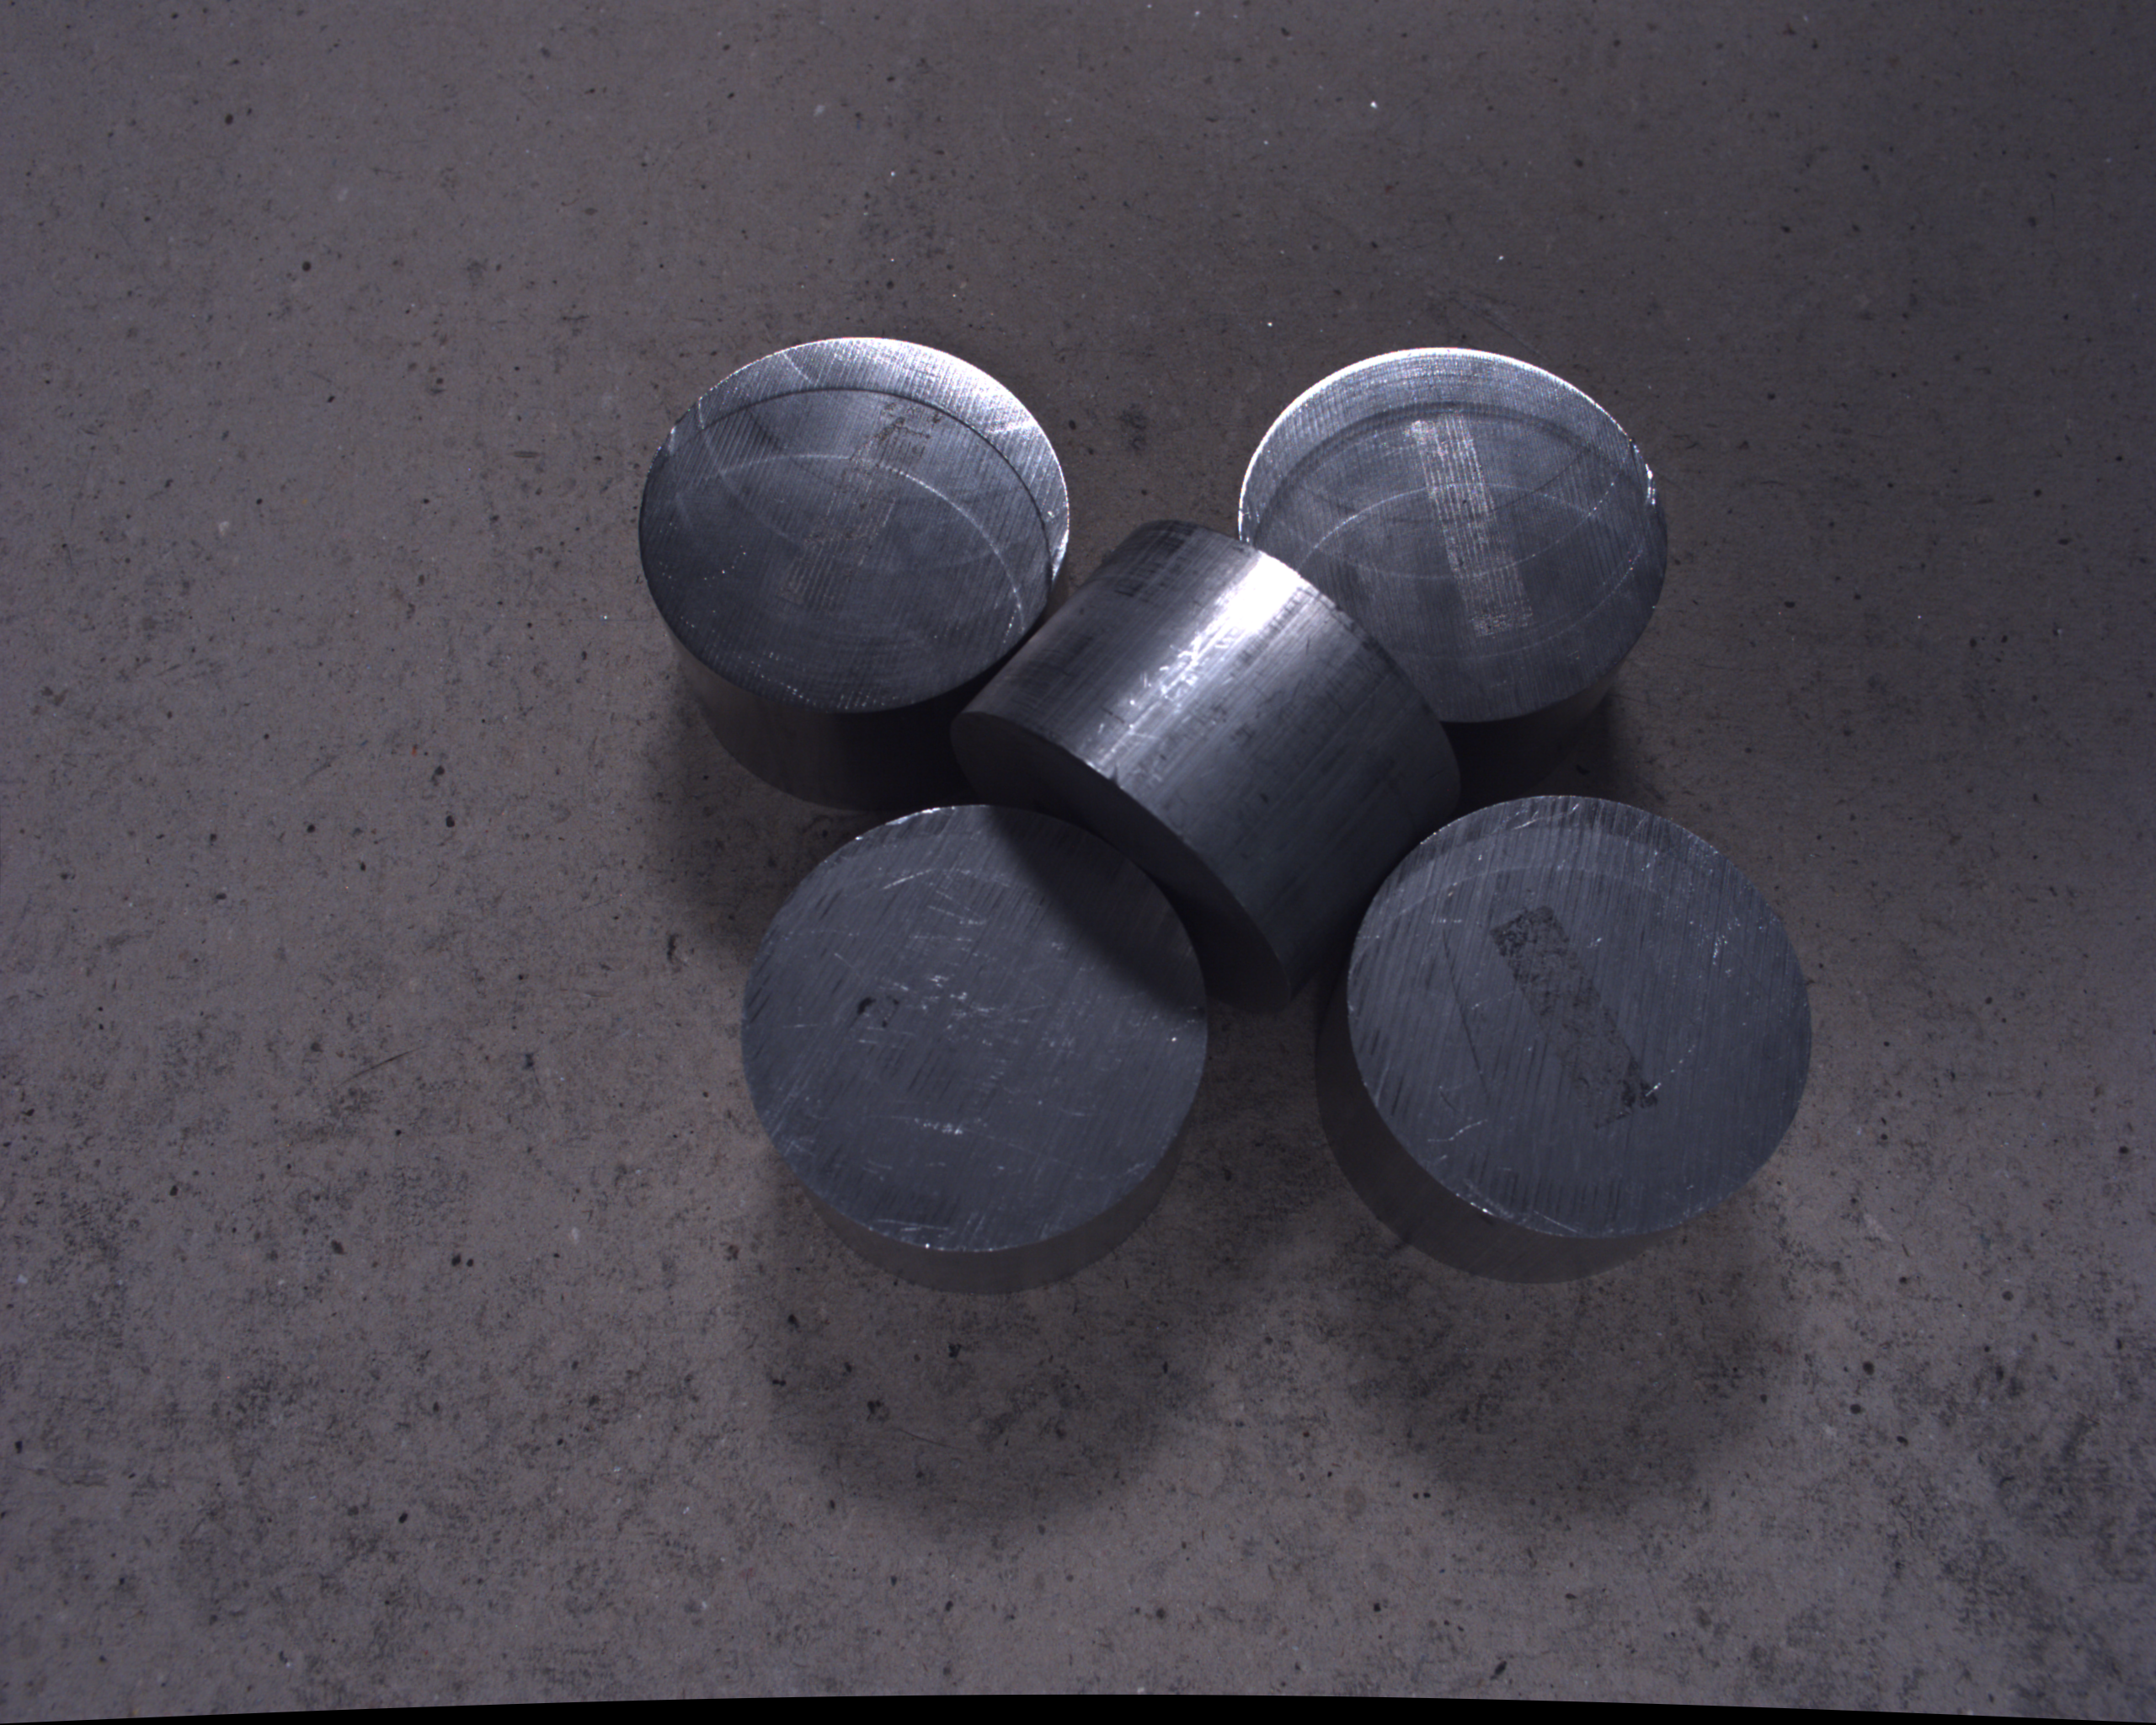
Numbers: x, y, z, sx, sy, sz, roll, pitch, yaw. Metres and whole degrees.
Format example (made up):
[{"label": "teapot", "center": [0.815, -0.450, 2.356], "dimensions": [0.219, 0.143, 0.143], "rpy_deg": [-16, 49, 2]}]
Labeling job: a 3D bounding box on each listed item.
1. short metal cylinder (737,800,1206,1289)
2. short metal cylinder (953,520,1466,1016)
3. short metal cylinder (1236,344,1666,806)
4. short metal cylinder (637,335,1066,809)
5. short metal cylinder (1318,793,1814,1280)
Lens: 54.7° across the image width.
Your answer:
[{"label": "short metal cylinder", "center": [-0.018, 0.035, 0.382], "dimensions": [0.081, 0.050, 0.080], "rpy_deg": [0, 70, 0]}, {"label": "short metal cylinder", "center": [0.024, -0.017, 0.387], "dimensions": [0.080, 0.080, 0.050], "rpy_deg": [38, 74, 12]}, {"label": "short metal cylinder", "center": [0.070, -0.055, 0.415], "dimensions": [0.081, 0.050, 0.080], "rpy_deg": [0, 70, 0]}, {"label": "short metal cylinder", "center": [-0.043, -0.057, 0.415], "dimensions": [0.081, 0.050, 0.080], "rpy_deg": [0, 70, 0]}, {"label": "short metal cylinder", "center": [0.087, 0.033, 0.384], "dimensions": [0.081, 0.050, 0.080], "rpy_deg": [0, 70, 0]}]
